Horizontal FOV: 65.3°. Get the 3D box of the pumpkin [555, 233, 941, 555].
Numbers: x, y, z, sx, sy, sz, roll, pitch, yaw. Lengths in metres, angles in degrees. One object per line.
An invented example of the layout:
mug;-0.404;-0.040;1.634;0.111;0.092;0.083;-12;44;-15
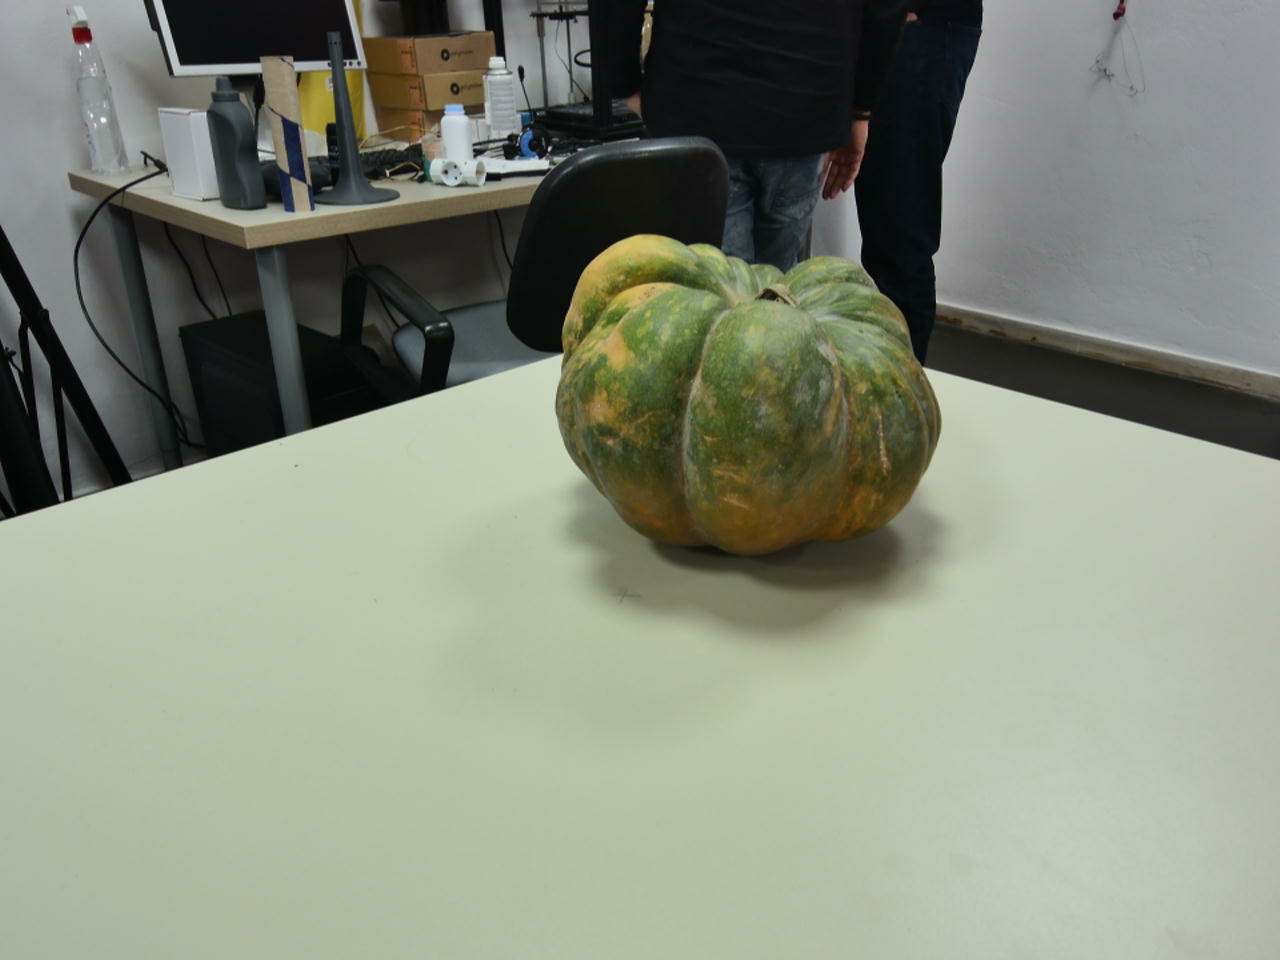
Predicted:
pumpkin;0.066;-0.058;0.630;0.237;0.173;0.270;-2;24;-5
